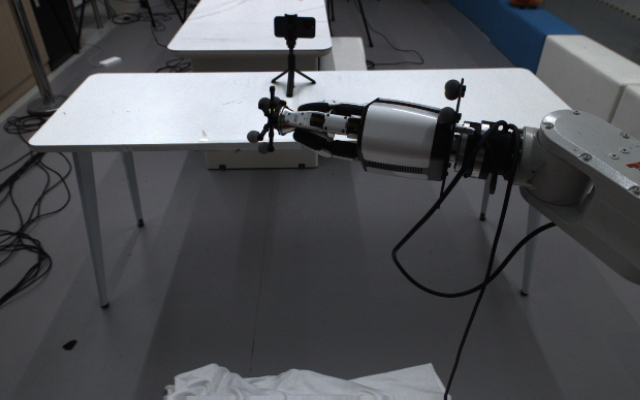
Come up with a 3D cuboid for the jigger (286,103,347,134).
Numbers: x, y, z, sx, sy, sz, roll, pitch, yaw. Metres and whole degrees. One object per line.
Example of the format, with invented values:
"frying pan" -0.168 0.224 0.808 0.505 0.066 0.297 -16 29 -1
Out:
"jigger" -0.010 -0.106 0.636 0.071 0.043 0.043 8 35 16
